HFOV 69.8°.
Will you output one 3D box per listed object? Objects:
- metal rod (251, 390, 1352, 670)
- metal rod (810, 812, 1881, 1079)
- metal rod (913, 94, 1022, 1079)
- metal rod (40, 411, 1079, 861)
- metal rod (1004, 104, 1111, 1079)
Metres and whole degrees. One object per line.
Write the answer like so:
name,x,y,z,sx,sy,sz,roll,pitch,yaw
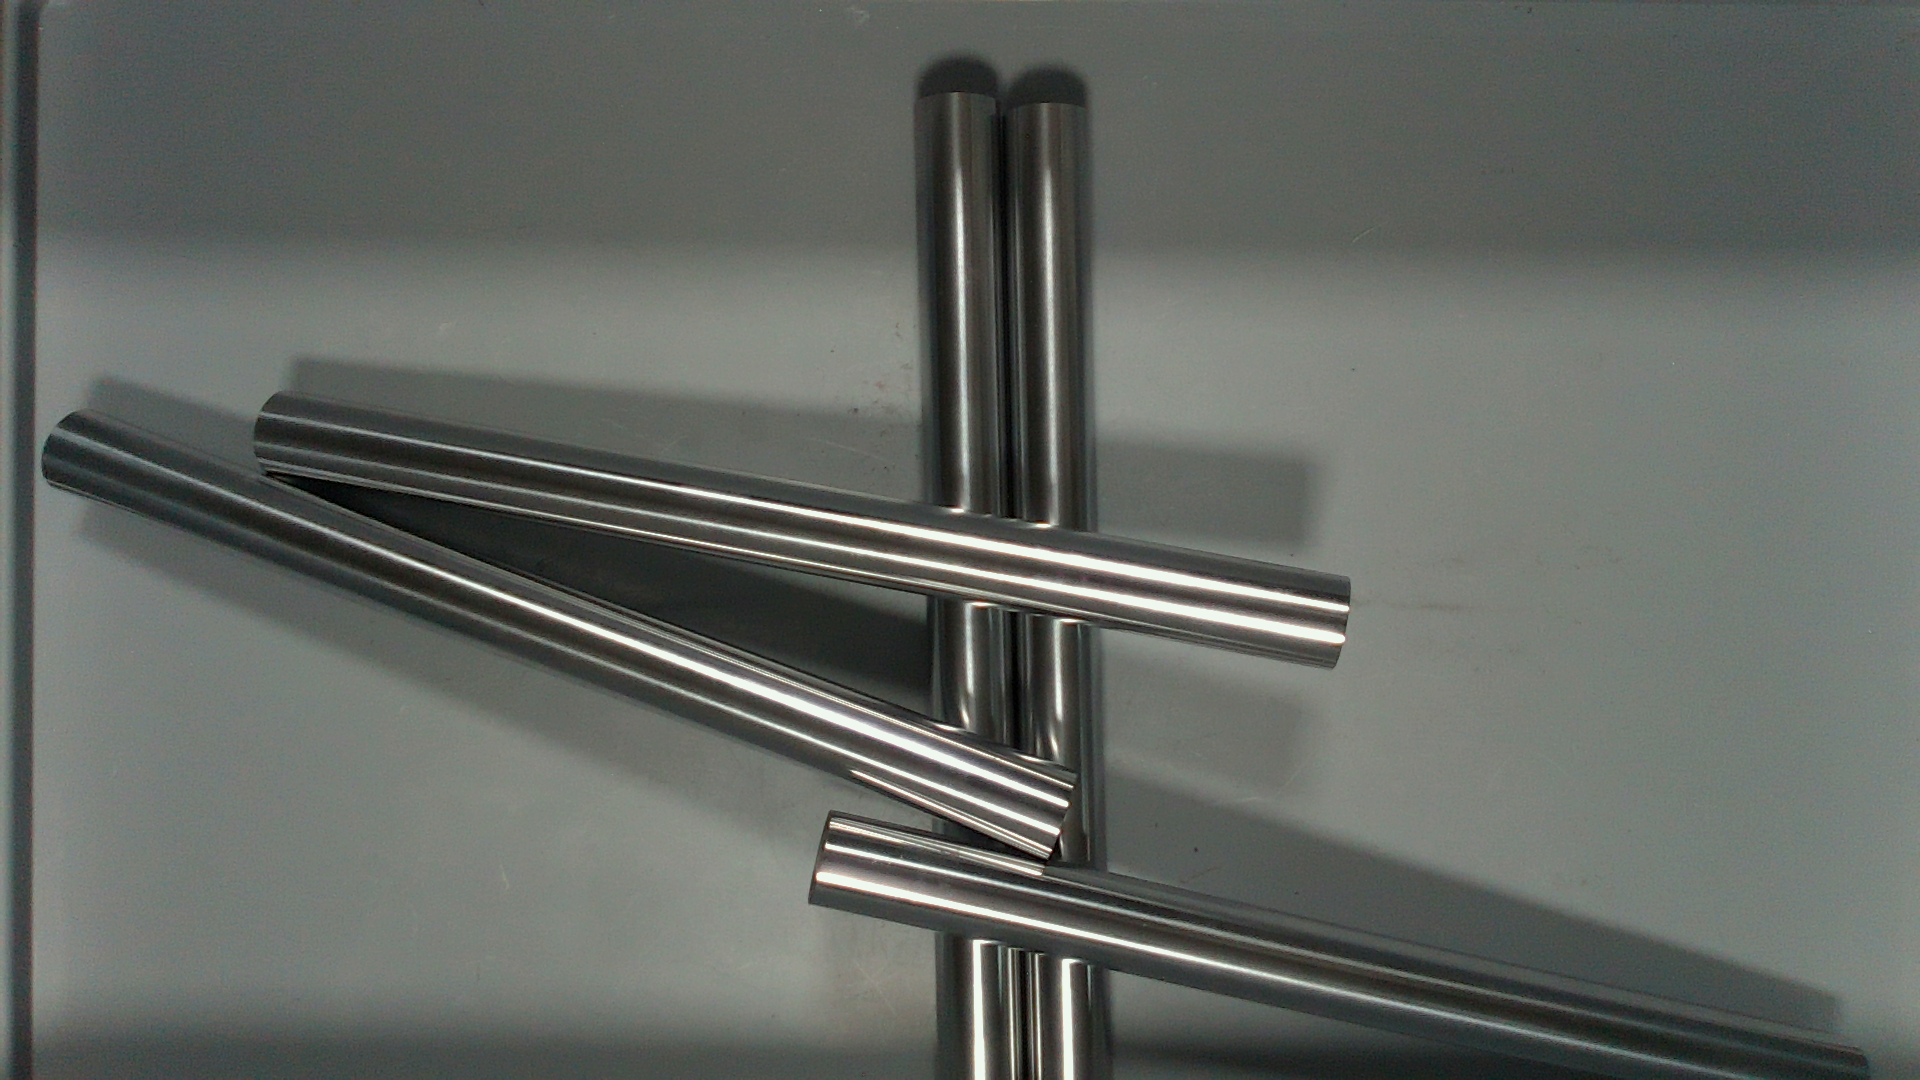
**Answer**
metal rod,-0.048,-0.005,0.375,0.300,0.025,0.025,10,90,7
metal rod,0.108,0.119,0.378,0.300,0.025,0.025,14,90,-6
metal rod,0.002,0.027,0.393,0.025,0.025,0.300,-1,90,0
metal rod,-0.113,0.024,0.381,0.300,0.025,0.025,19,90,5
metal rod,0.028,0.030,0.393,0.025,0.025,0.300,-1,90,0
